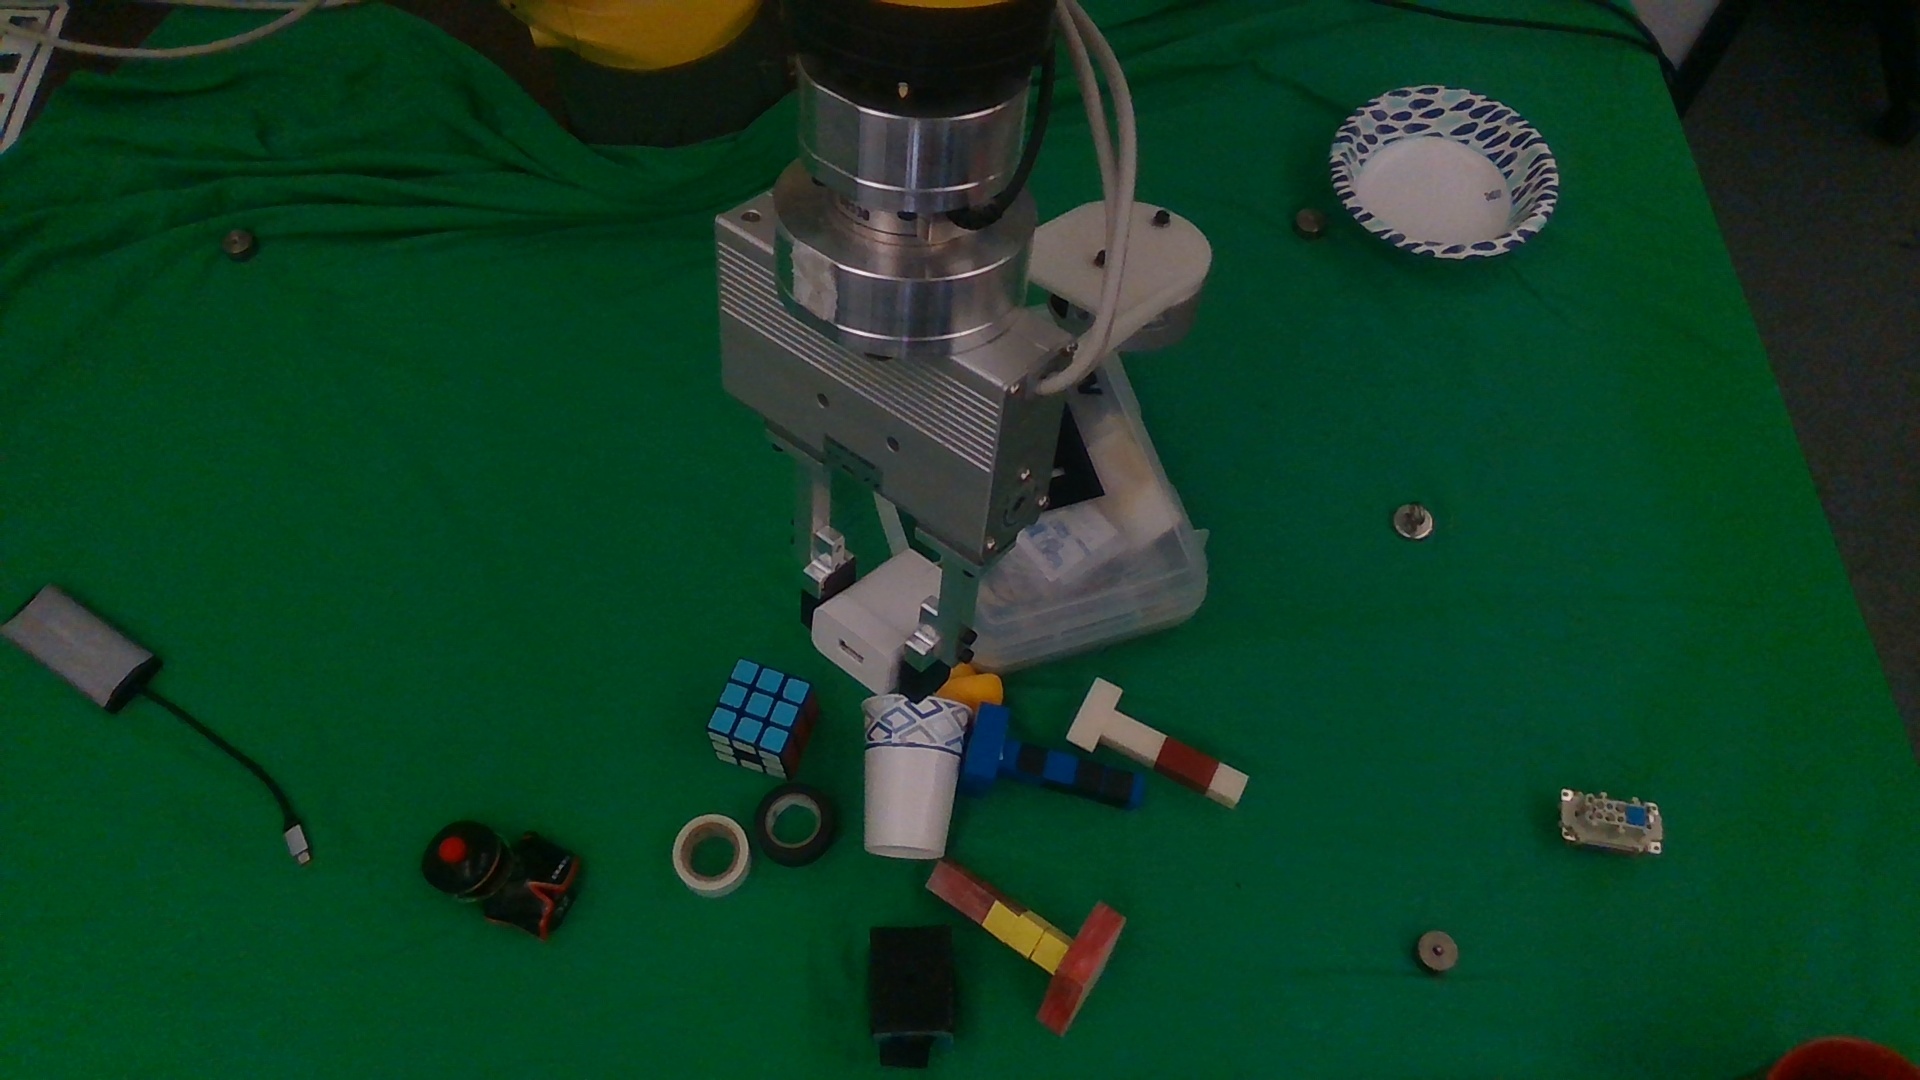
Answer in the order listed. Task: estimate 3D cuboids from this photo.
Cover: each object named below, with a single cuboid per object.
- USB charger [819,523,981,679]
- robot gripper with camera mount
[{"bbox_3d":[-0.019,0.018,0.557,0.045,0.029,0.075,15,48,22],"label":"USB charger"},{"bbox_3d":[0.020,-0.065,0.540,0.119,0.158,0.193,30,50,28],"label":"robot gripper with camera mount"}]
